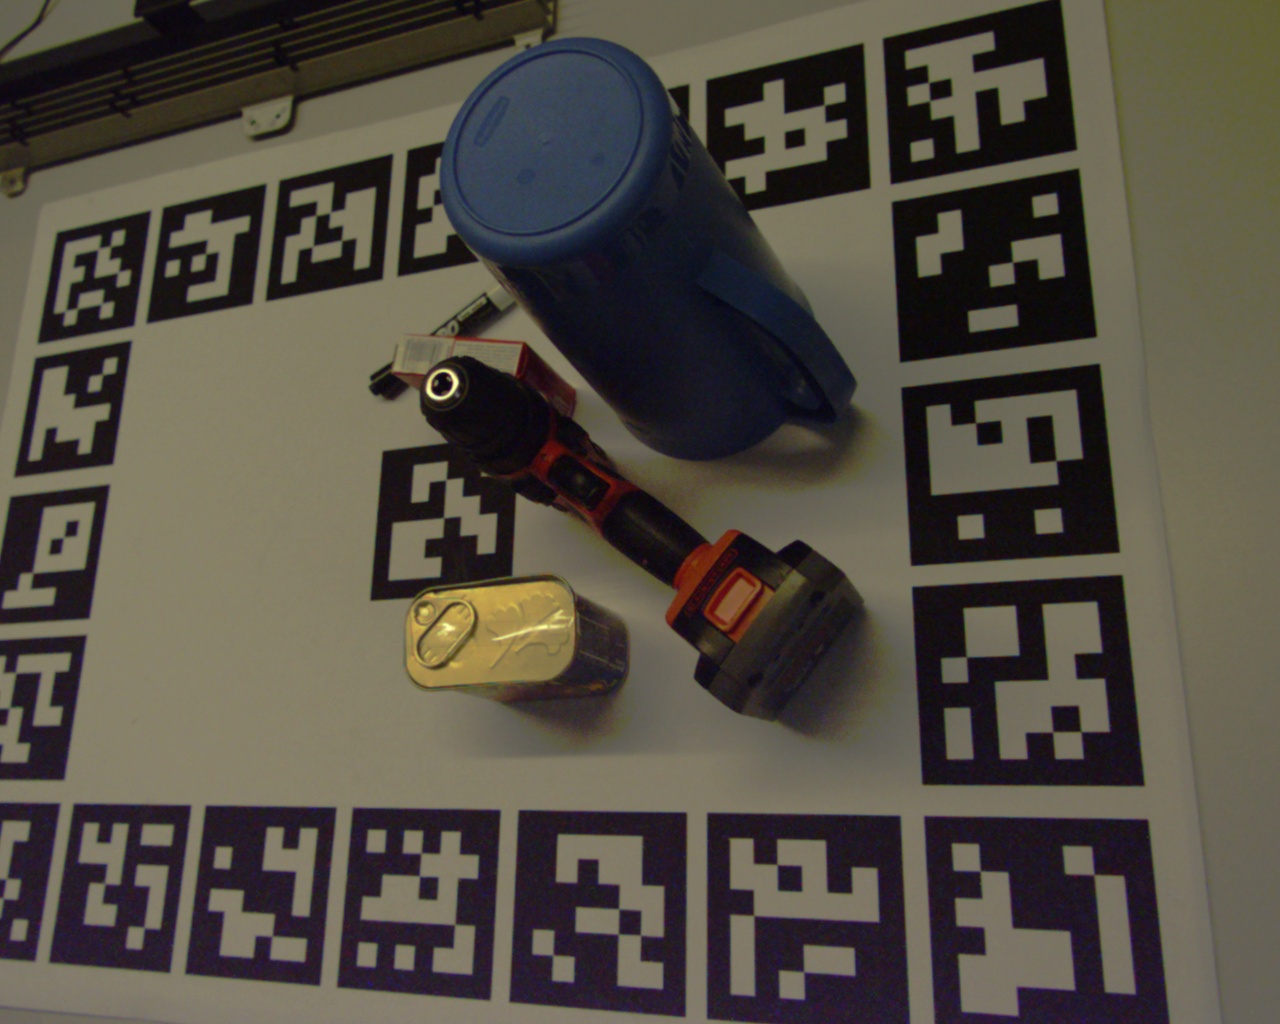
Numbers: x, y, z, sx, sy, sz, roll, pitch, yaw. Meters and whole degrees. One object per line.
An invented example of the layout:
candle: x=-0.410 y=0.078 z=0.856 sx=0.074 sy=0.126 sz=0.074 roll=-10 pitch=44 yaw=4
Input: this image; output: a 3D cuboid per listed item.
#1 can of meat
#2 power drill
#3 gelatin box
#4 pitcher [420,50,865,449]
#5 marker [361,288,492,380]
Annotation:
can of meat: x=-0.073 y=0.067 z=0.651 sx=0.103 sy=0.083 sz=0.058 roll=-8 pitch=72 yaw=21
power drill: x=-0.027 y=-0.013 z=0.601 sx=0.189 sy=0.183 sz=0.057 roll=31 pitch=92 yaw=21
gelatin box: x=-0.098 y=-0.086 z=0.712 sx=0.090 sy=0.072 sz=0.030 roll=5 pitch=82 yaw=23
pitcher: x=0.008 y=-0.123 z=0.590 sx=0.191 sy=0.239 sz=0.133 roll=29 pitch=92 yaw=33
marker: x=-0.140 y=-0.127 z=0.768 sx=0.121 sy=0.019 sz=0.020 roll=-33 pitch=67 yaw=13
